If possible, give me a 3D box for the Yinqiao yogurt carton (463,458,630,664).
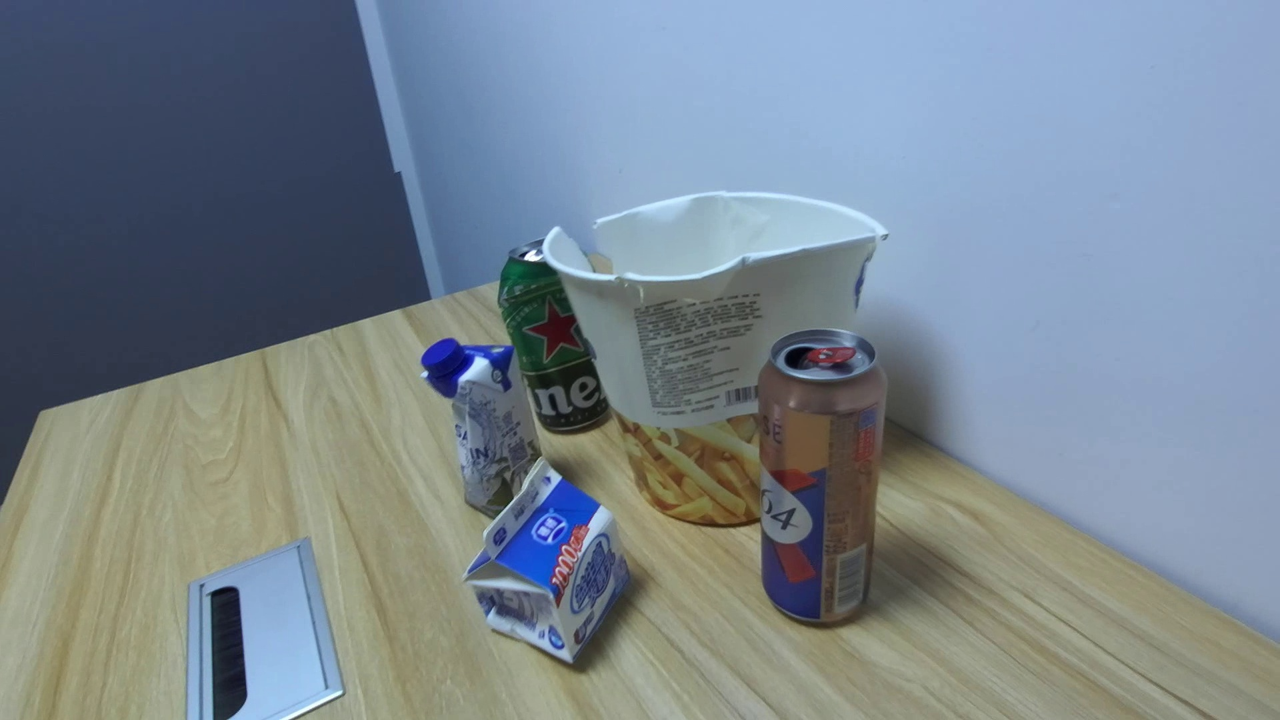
[{"bbox_3d":[-0.064,0.117,0.427,0.080,0.097,0.074,0,29,28],"label":"Yinqiao yogurt carton"}]

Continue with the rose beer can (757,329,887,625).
[{"bbox_3d":[0.102,0.070,0.403,0.068,0.169,0.068,-5,29,3],"label":"rose beer can"}]

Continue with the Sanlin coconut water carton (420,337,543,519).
[{"bbox_3d":[-0.112,0.044,0.521,0.060,0.144,0.070,17,37,39],"label":"Sanlin coconut water carton"}]

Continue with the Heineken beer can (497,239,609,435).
[{"bbox_3d":[-0.064,-0.020,0.608,0.077,0.164,0.066,-4,25,12],"label":"Heineken beer can"}]

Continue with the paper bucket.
[{"bbox_3d":[0.053,-0.004,0.512,0.203,0.197,0.145,-14,29,-14],"label":"paper bucket"}]
